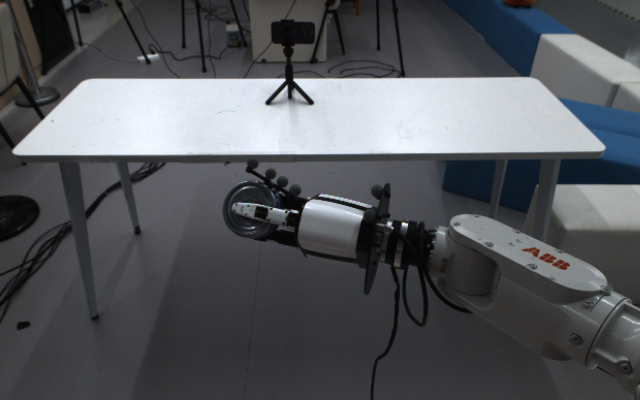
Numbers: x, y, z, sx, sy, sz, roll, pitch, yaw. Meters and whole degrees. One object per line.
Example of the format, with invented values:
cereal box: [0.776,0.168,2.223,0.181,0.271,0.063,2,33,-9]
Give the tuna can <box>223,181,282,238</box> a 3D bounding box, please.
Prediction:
tuna can: [-0.097,0.021,0.713,0.085,0.085,0.034,12,-5,15]
